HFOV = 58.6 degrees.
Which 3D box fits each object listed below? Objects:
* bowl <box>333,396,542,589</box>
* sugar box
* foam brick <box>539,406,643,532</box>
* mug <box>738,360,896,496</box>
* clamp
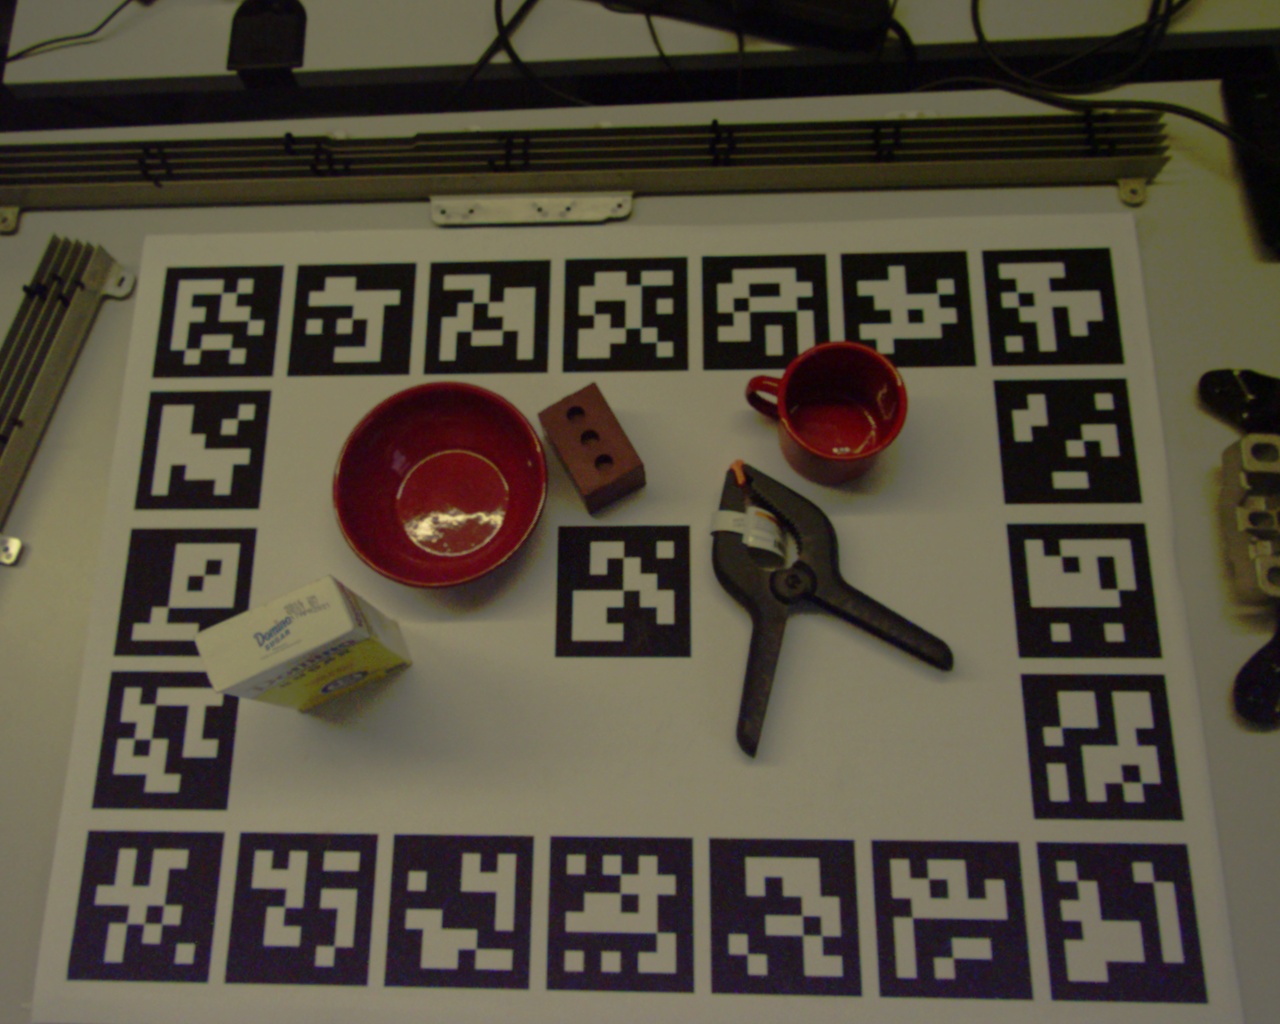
[{"bbox_3d":[-0.155,-0.007,0.895,0.162,0.055,0.162,-1,75,2],"label":"bowl"},{"bbox_3d":[-0.231,0.107,0.807,0.092,0.176,0.045,-25,78,-6],"label":"sugar box"},{"bbox_3d":[-0.038,-0.033,0.903,0.052,0.051,0.078,-27,76,-4],"label":"foam brick"},{"bbox_3d":[0.130,-0.065,0.878,0.117,0.081,0.093,25,78,6],"label":"mug"},{"bbox_3d":[0.099,0.064,0.864,0.165,0.036,0.204,-24,76,-1],"label":"clamp"}]
